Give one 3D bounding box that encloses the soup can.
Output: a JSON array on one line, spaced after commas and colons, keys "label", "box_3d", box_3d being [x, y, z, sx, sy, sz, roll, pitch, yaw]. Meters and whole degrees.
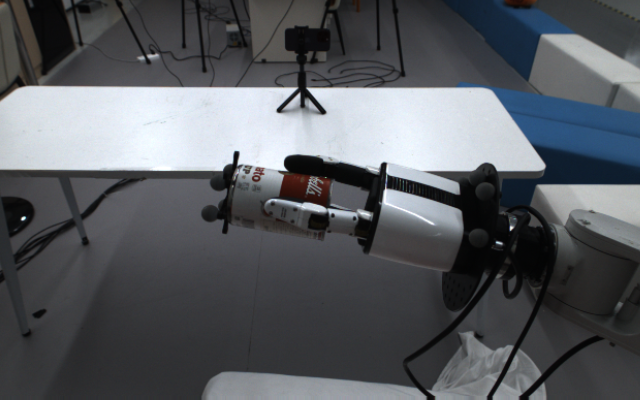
[{"label": "soup can", "box_3d": [-0.038, 0.002, 0.516, 0.101, 0.067, 0.067, 10, 35, 0]}]
